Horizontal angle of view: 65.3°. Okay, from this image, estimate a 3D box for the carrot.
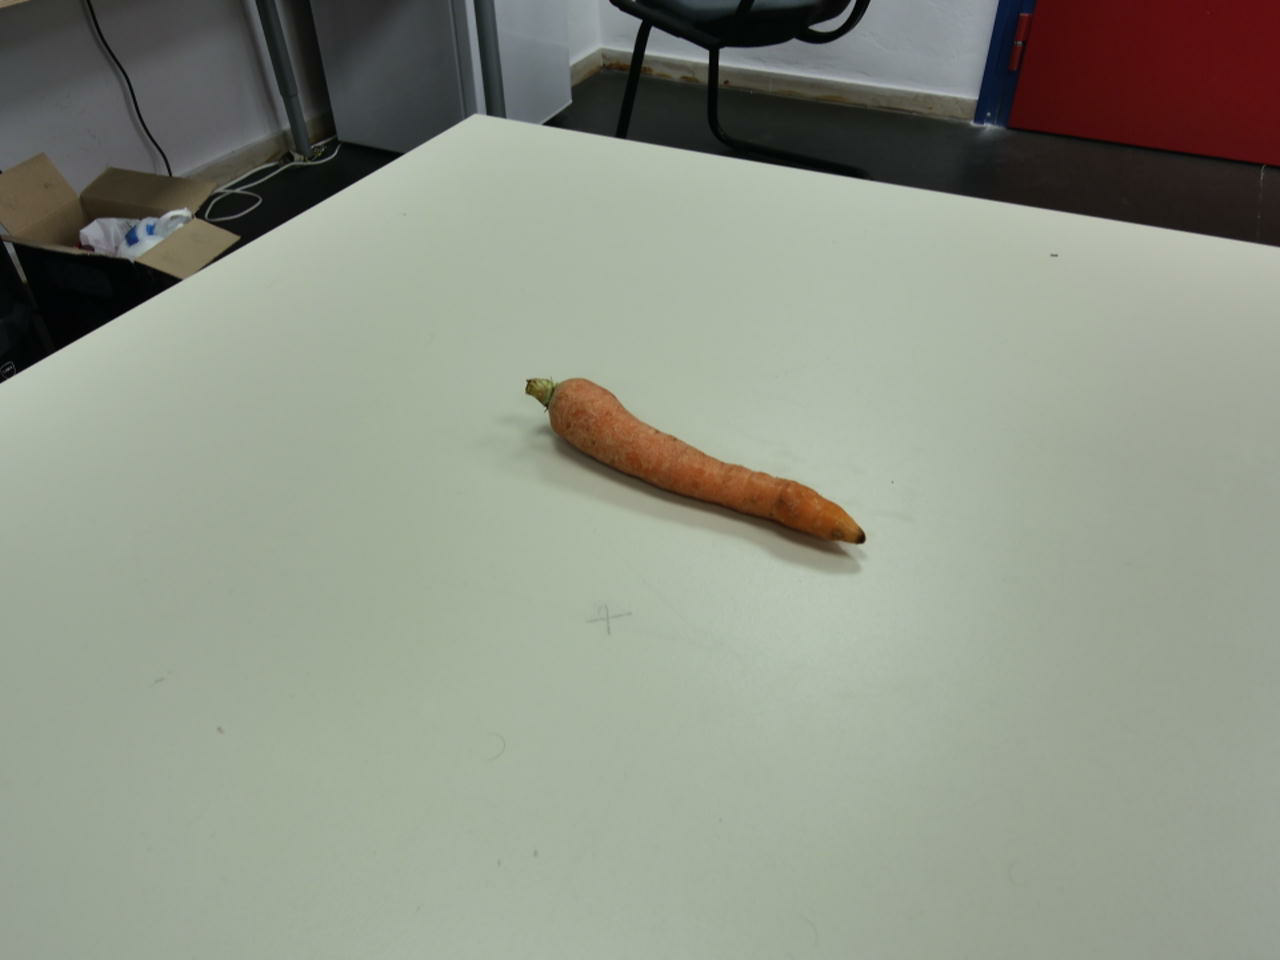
[{"bbox_3d":[0.019,-0.010,0.440,0.173,0.032,0.030,24,43,28],"label":"carrot"}]
